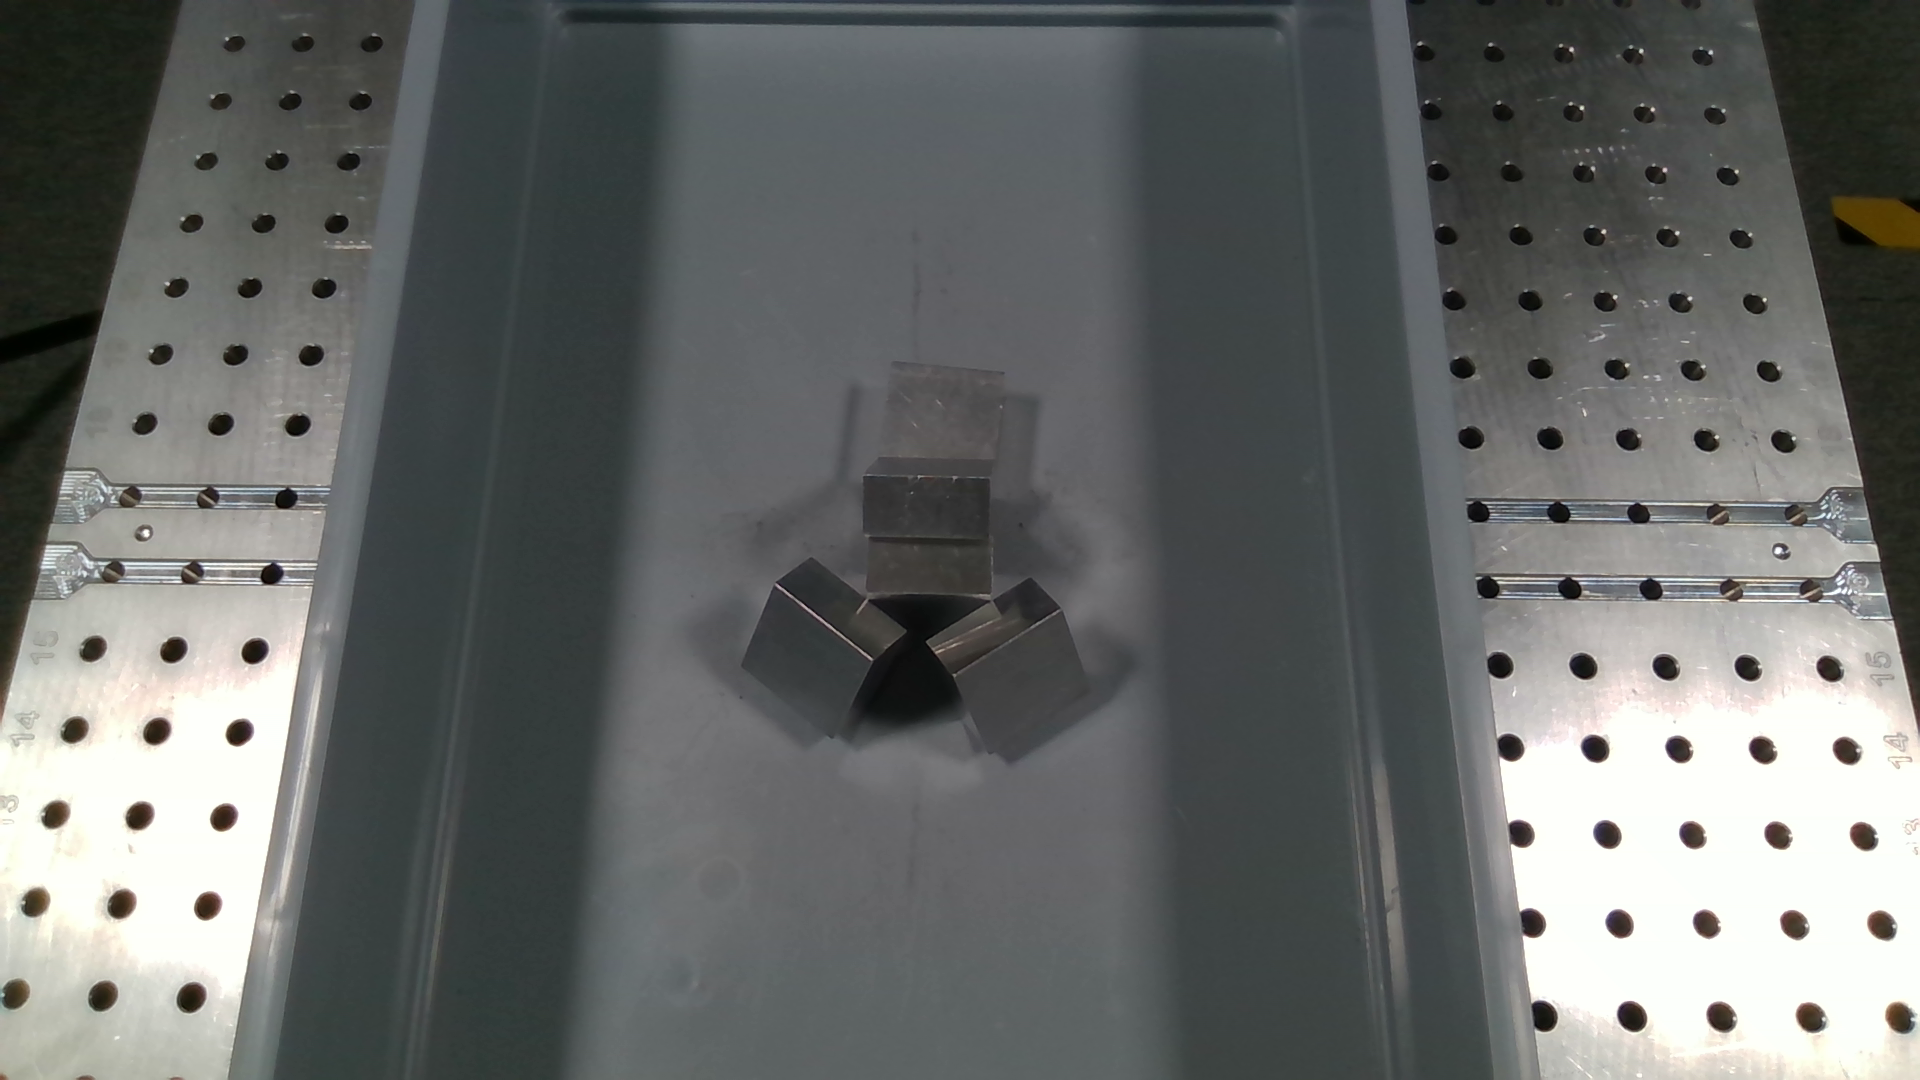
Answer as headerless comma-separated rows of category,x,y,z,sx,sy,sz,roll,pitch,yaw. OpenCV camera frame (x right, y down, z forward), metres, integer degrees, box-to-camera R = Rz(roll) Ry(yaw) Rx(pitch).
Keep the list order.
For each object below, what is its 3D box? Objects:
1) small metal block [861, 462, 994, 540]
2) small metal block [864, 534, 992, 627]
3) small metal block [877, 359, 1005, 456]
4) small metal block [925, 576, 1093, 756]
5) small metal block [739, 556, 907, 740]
small metal block,-0.012,-0.018,0.561,0.050,0.050,0.025,1,101,3
small metal block,-0.012,0.018,0.568,0.050,0.050,0.025,1,70,0
small metal block,-0.008,-0.049,0.603,0.050,0.025,0.050,6,70,2
small metal block,0.020,0.051,0.553,0.050,0.050,0.025,-31,41,-10
small metal block,-0.056,0.044,0.555,0.050,0.050,0.025,37,39,11
